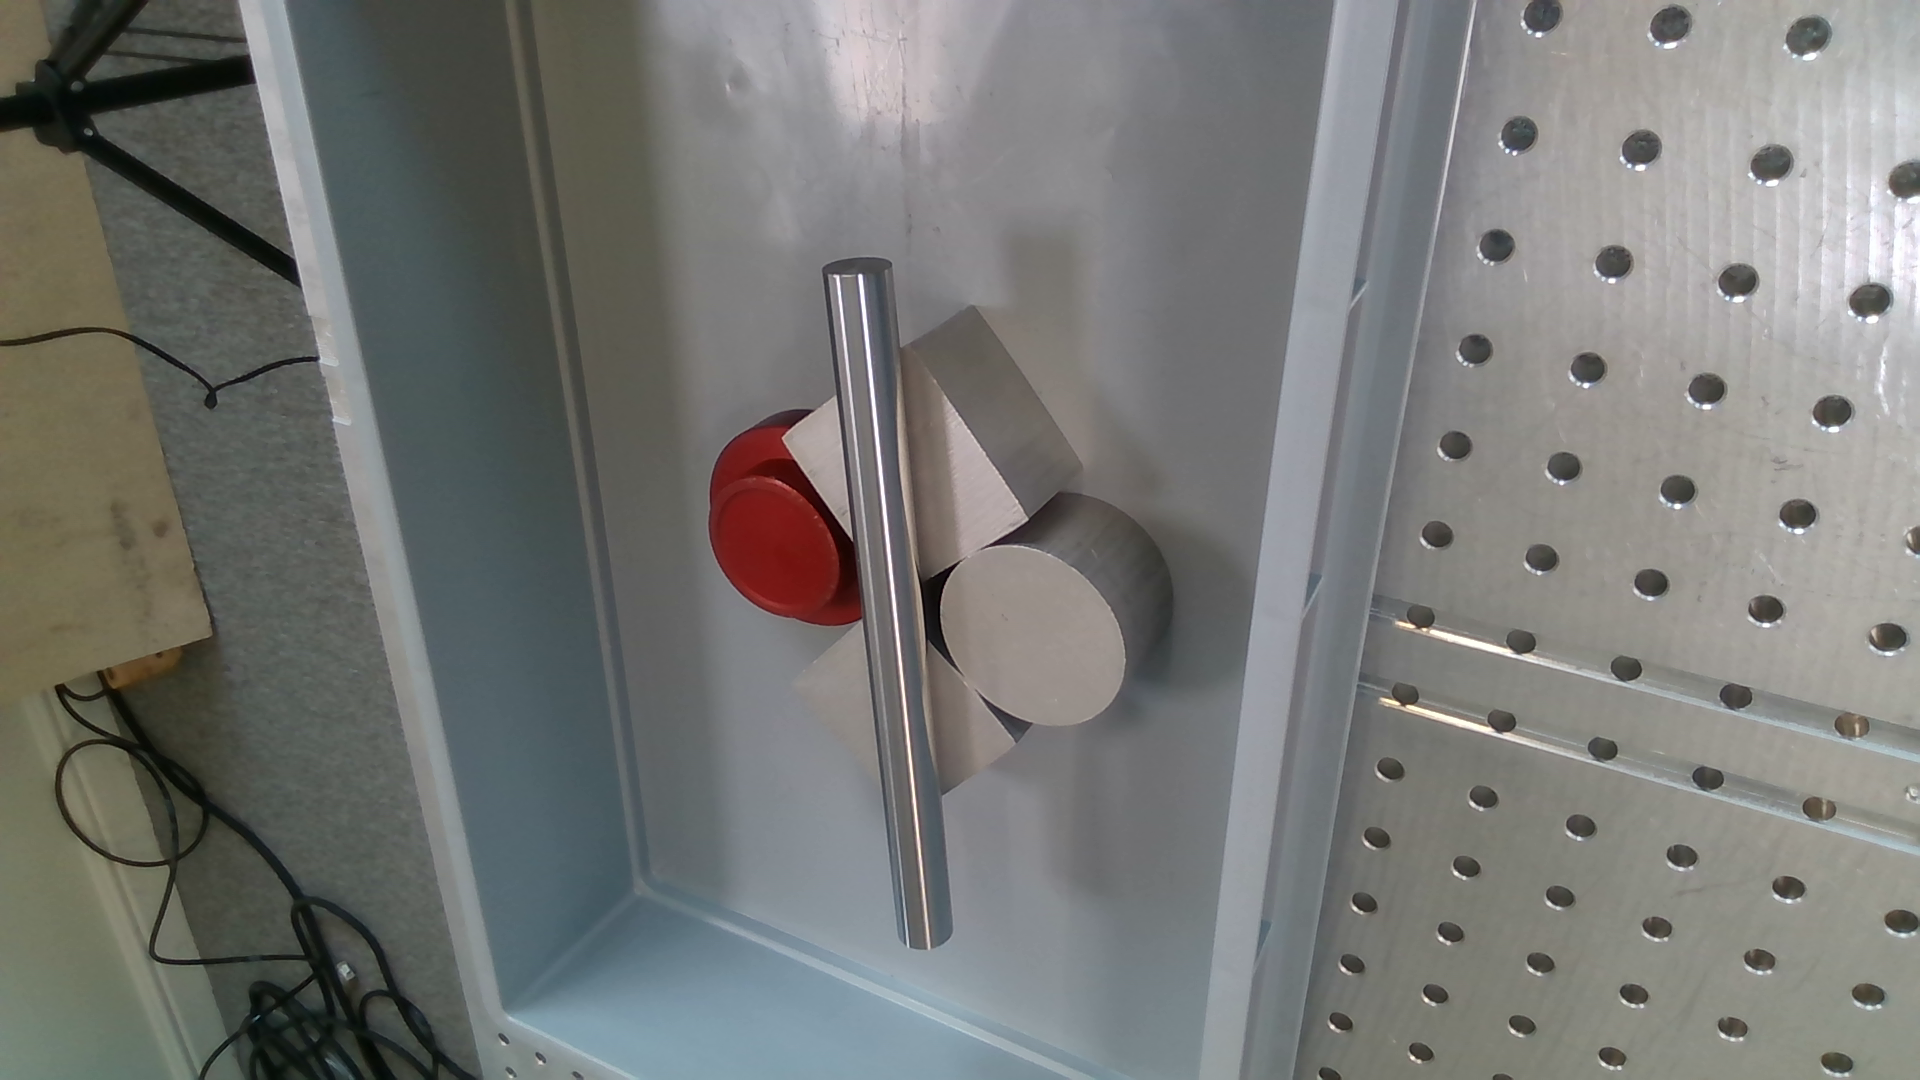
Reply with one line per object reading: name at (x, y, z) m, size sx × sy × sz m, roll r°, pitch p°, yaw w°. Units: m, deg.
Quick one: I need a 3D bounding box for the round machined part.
round machined part at (-0.072, -0.005, 0.609) m, size 0.098 × 0.042 × 0.098 m, roll 14°, pitch 122°, yaw 25°

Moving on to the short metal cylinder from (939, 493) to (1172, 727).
short metal cylinder at (0.039, 0.028, 0.554) m, size 0.080 × 0.050 × 0.080 m, roll 14°, pitch 122°, yaw 25°

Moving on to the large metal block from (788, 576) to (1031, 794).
large metal block at (-0.015, 0.064, 0.603) m, size 0.080 × 0.050 × 0.080 m, roll 50°, pitch 129°, yaw 0°

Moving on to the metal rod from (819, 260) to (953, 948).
metal rod at (-0.026, 0.039, 0.549) m, size 0.025 × 0.025 × 0.301 m, roll 10°, pitch 119°, yaw 27°

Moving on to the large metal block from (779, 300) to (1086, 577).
large metal block at (-0.011, -0.035, 0.550) m, size 0.080 × 0.050 × 0.080 m, roll -29°, pitch 98°, yaw 41°
